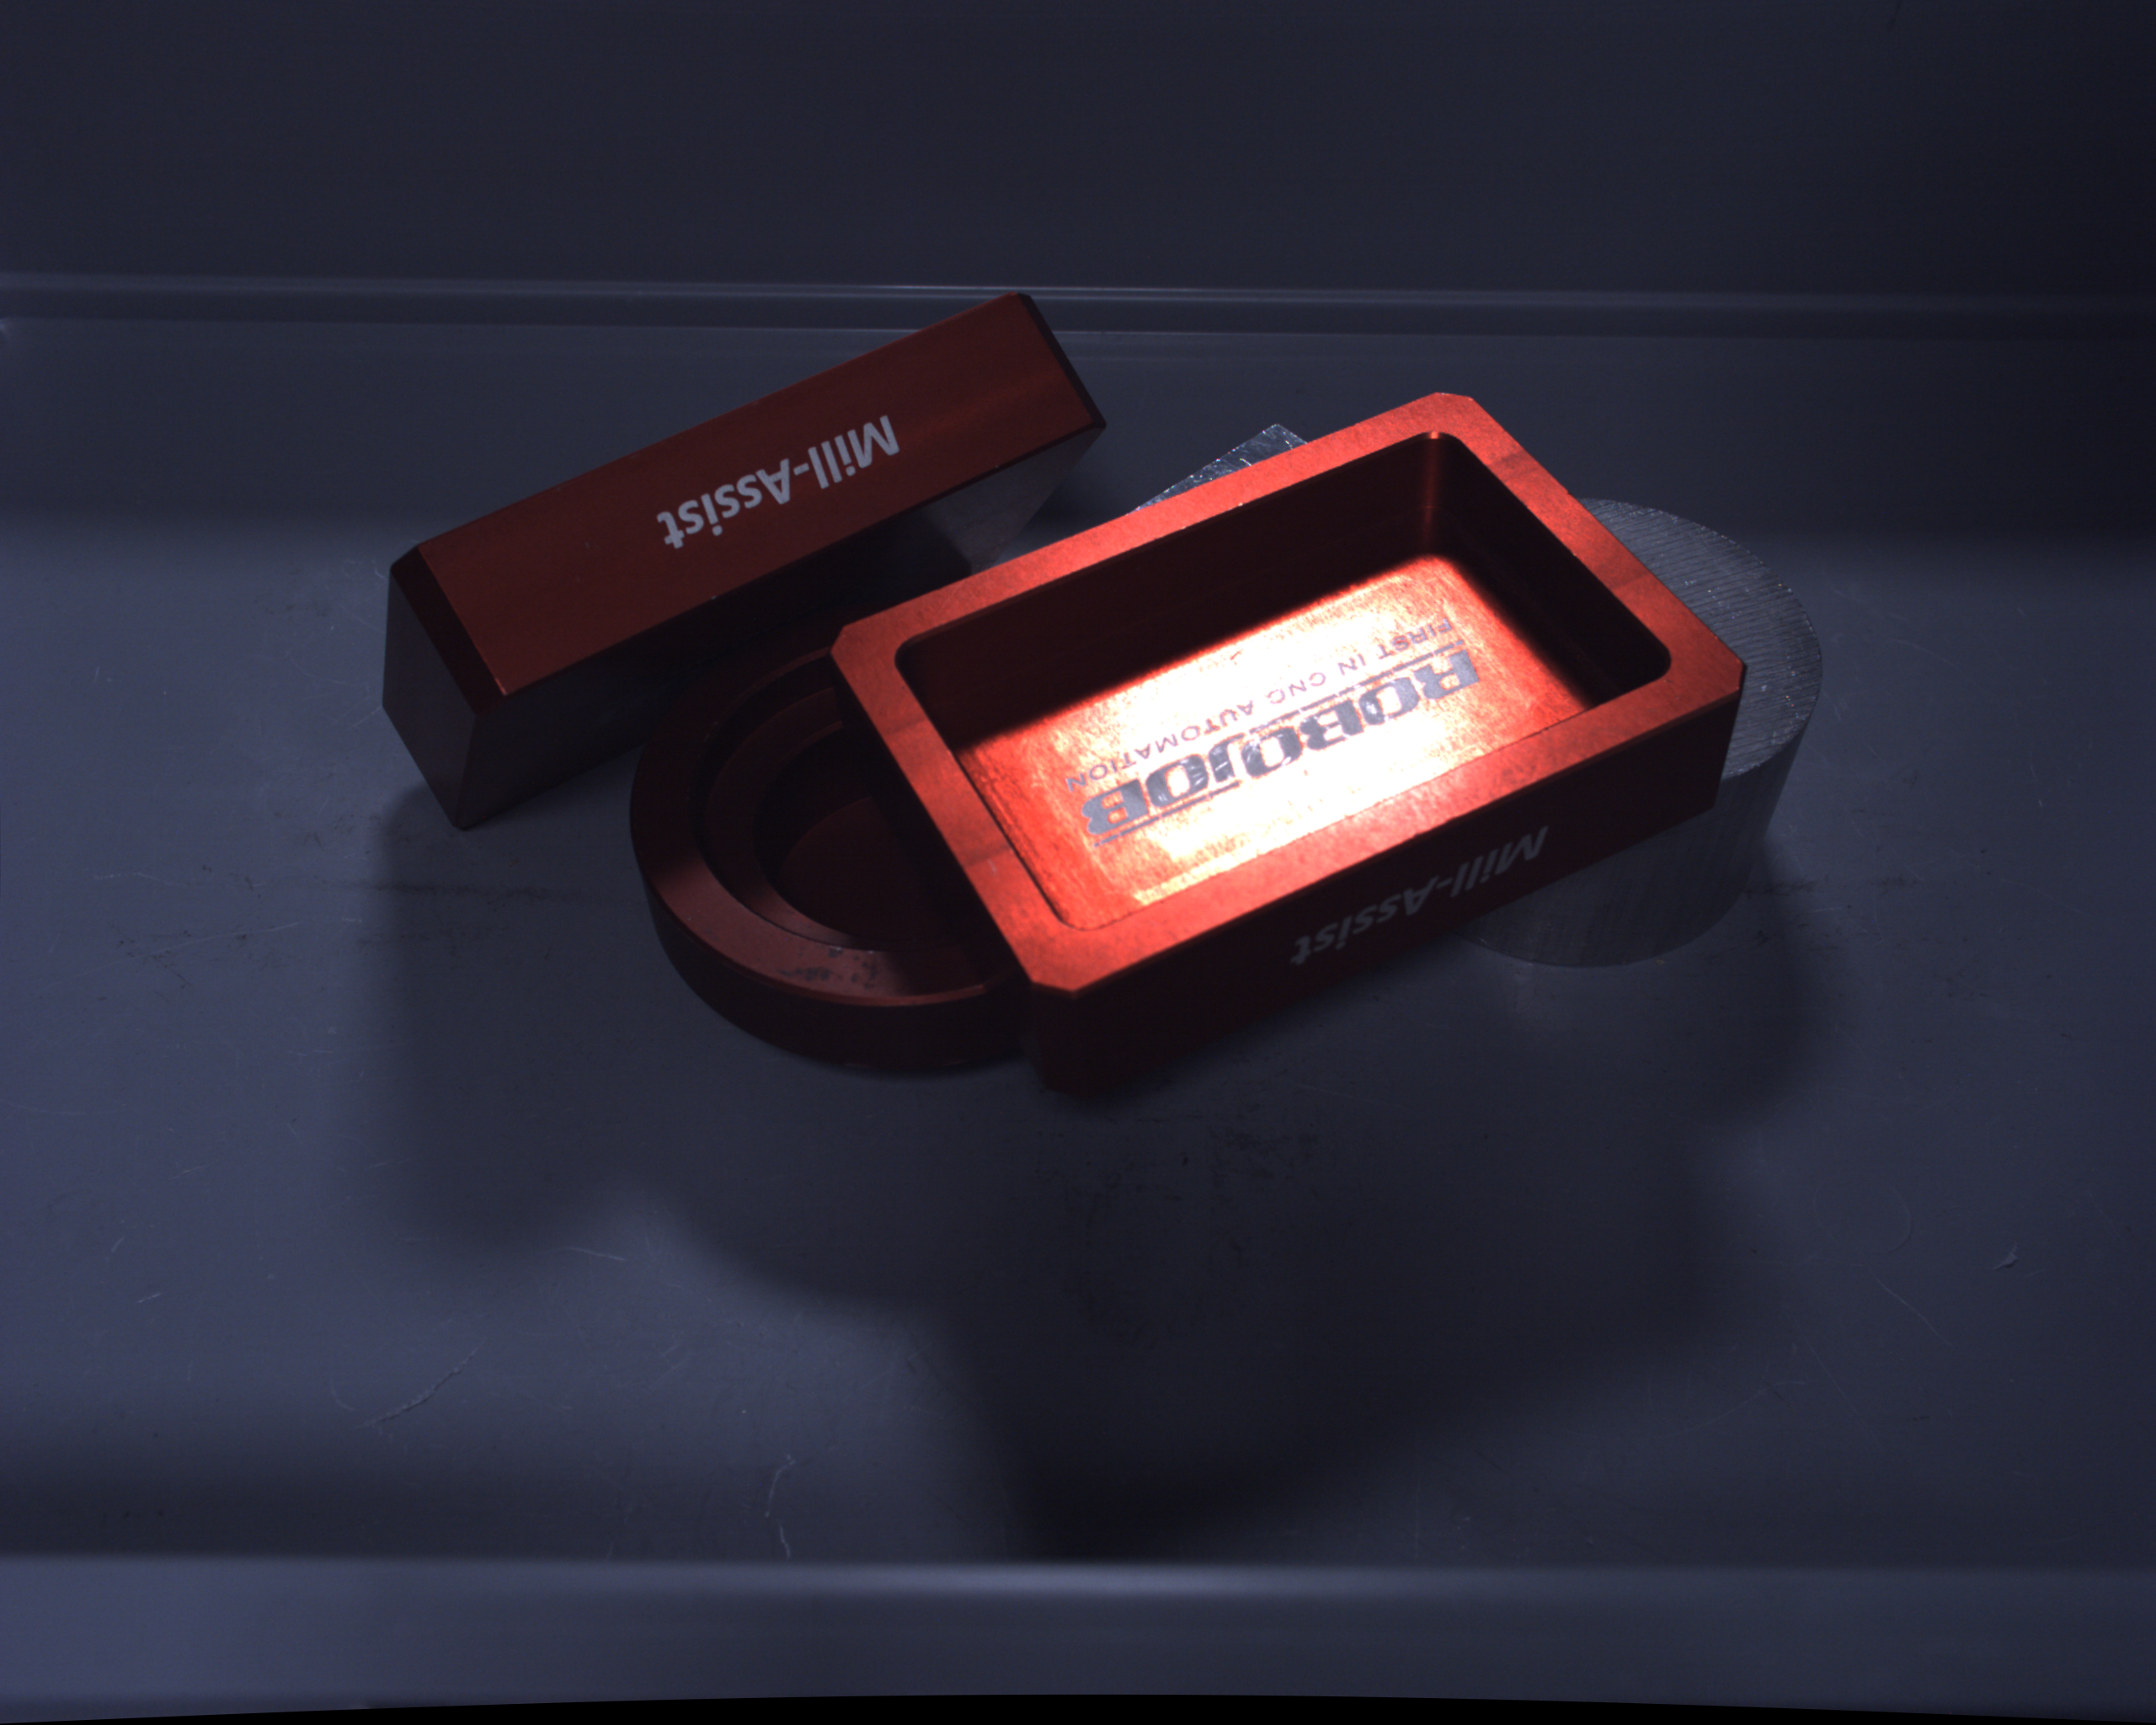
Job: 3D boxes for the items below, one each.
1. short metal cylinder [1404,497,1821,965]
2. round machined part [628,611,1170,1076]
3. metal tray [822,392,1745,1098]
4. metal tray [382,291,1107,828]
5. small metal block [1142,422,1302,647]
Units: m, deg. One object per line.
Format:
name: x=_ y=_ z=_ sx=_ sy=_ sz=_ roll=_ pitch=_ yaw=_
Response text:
short metal cylinder: x=0.098 y=-0.027 z=0.410 sx=0.081 sy=0.050 sz=0.080 roll=0 pitch=50 yaw=0
round machined part: x=-0.032 y=0.000 z=0.393 sx=0.099 sy=0.042 sz=0.098 roll=0 pitch=50 yaw=0
metal tray: x=0.034 y=-0.025 z=0.359 sx=0.131 sy=0.030 sz=0.090 roll=-24 pitch=53 yaw=-14
metal tray: x=-0.067 y=-0.058 z=0.406 sx=0.131 sy=0.090 sz=0.030 roll=-29 pitch=88 yaw=-23
small metal block: x=0.031 y=-0.055 z=0.433 sx=0.050 sy=0.050 sz=0.025 roll=-35 pitch=59 yaw=-28
